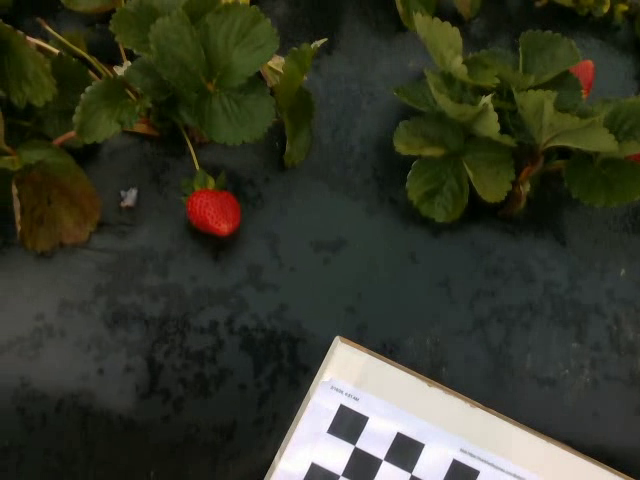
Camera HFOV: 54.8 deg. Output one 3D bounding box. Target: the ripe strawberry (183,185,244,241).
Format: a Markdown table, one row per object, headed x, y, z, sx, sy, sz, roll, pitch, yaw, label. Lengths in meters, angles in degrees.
| x | y | z | sx | sy | sz | roll | pitch | yaw | label |
| --- | --- | --- | --- | --- | --- | --- | --- | --- | --- |
| -0.081 | -0.019 | 0.473 | 0.045 | 0.054 | 0.048 | -26 | -43 | 1 | ripe strawberry |
